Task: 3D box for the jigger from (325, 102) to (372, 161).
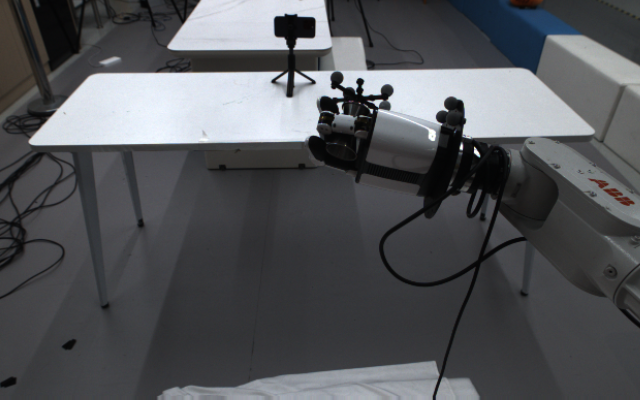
[{"bbox_3d":[0.041,-0.092,0.648,0.043,0.043,0.071,12,71,14],"label":"jigger"}]
